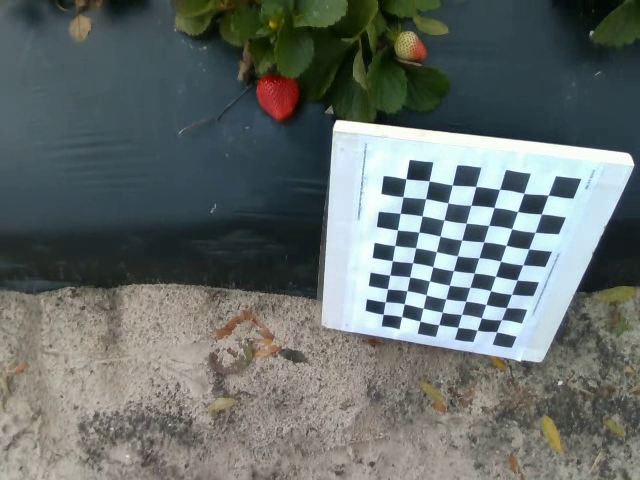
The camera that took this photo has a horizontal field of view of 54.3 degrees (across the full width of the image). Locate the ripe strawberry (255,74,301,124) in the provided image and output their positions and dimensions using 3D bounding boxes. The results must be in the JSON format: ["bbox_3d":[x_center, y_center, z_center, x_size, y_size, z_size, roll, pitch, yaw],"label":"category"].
[{"bbox_3d":[-0.037,-0.118,0.508,0.037,0.046,0.037,-28,-22,37],"label":"ripe strawberry"}]
